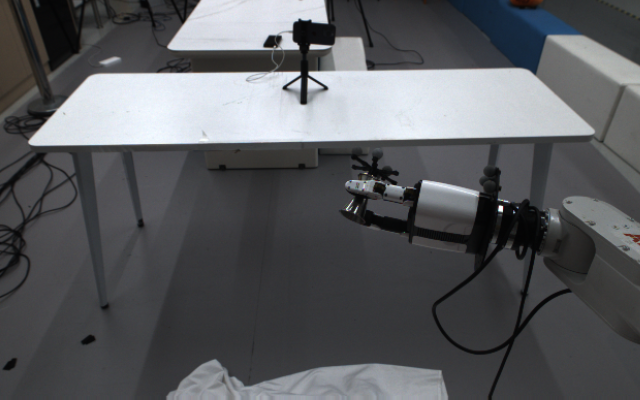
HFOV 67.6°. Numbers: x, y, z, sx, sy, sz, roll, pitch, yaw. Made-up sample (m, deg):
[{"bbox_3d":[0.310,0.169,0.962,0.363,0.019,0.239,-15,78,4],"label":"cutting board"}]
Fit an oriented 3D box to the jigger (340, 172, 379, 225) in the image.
[{"bbox_3d":[0.062,-0.006,0.743,0.043,0.043,0.071,21,73,25],"label":"jigger"}]
